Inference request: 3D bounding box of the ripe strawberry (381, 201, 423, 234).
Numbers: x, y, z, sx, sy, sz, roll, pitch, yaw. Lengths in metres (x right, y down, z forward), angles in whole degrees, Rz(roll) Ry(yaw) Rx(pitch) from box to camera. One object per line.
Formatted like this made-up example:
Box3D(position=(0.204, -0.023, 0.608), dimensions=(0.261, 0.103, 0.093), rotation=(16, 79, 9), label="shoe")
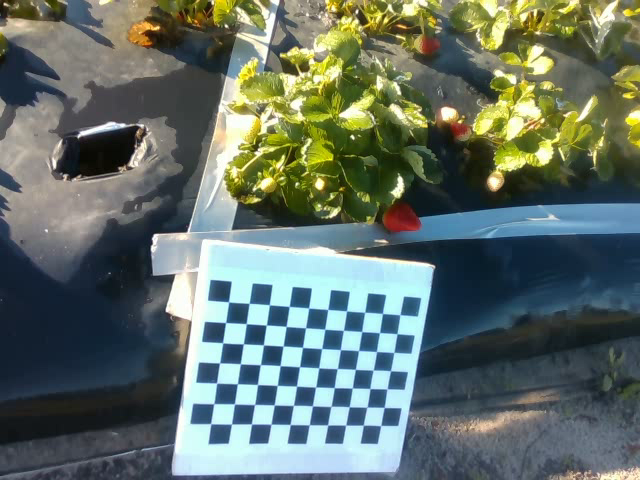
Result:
Box3D(position=(0.105, -0.026, 0.742), dimensions=(0.063, 0.045, 0.048), rotation=(33, 1, 43), label="ripe strawberry")
